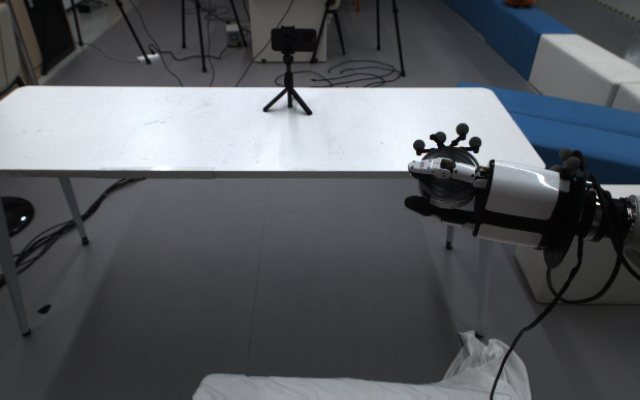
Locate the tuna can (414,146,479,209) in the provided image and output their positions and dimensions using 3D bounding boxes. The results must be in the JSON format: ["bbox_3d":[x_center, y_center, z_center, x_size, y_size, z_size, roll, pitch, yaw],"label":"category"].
[{"bbox_3d":[0.182,-0.032,0.686,0.085,0.034,0.085,-6,61,10],"label":"tuna can"}]
